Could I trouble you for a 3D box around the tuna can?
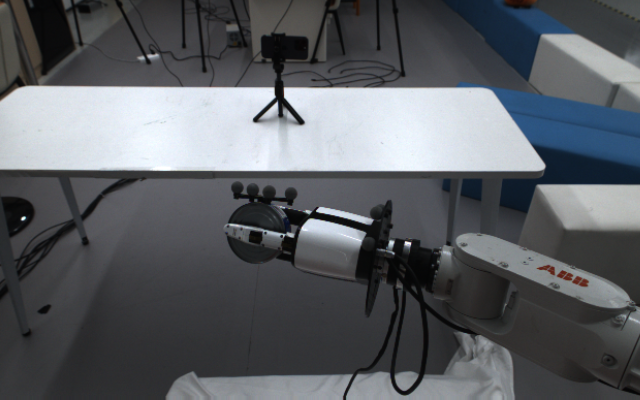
[{"bbox_3d":[-0.084,0.044,0.676,0.085,0.085,0.034,12,2,13],"label":"tuna can"}]
